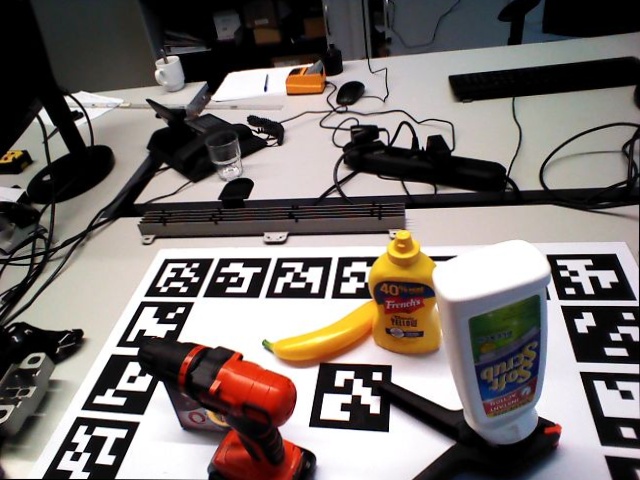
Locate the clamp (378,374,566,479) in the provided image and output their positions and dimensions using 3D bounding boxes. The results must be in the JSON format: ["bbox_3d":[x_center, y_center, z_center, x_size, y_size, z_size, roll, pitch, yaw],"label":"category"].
[{"bbox_3d":[0.167,0.209,0.581,0.203,0.037,0.164,-5,40,7],"label":"clamp"}]

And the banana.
[{"bbox_3d":[0.019,0.112,0.756,0.197,0.039,0.074,-26,23,-17],"label":"banana"}]

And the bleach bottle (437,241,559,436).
[{"bbox_3d":[0.187,0.117,0.521,0.103,0.251,0.067,-18,34,3],"label":"bleach bottle"}]

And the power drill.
[{"bbox_3d":[-0.108,0.187,0.537,0.186,0.187,0.057,5,34,25],"label":"power drill"}]

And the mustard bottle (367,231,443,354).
[{"bbox_3d":[0.111,0.068,0.680,0.097,0.192,0.058,9,42,23],"label":"mustard bottle"}]

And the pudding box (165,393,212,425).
[{"bbox_3d":[-0.140,0.195,0.661,0.114,0.090,0.038,2,33,16],"label":"pudding box"}]

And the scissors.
[{"bbox_3d":[-0.157,0.141,0.629,0.204,0.016,0.087,20,52,28],"label":"scissors"}]
